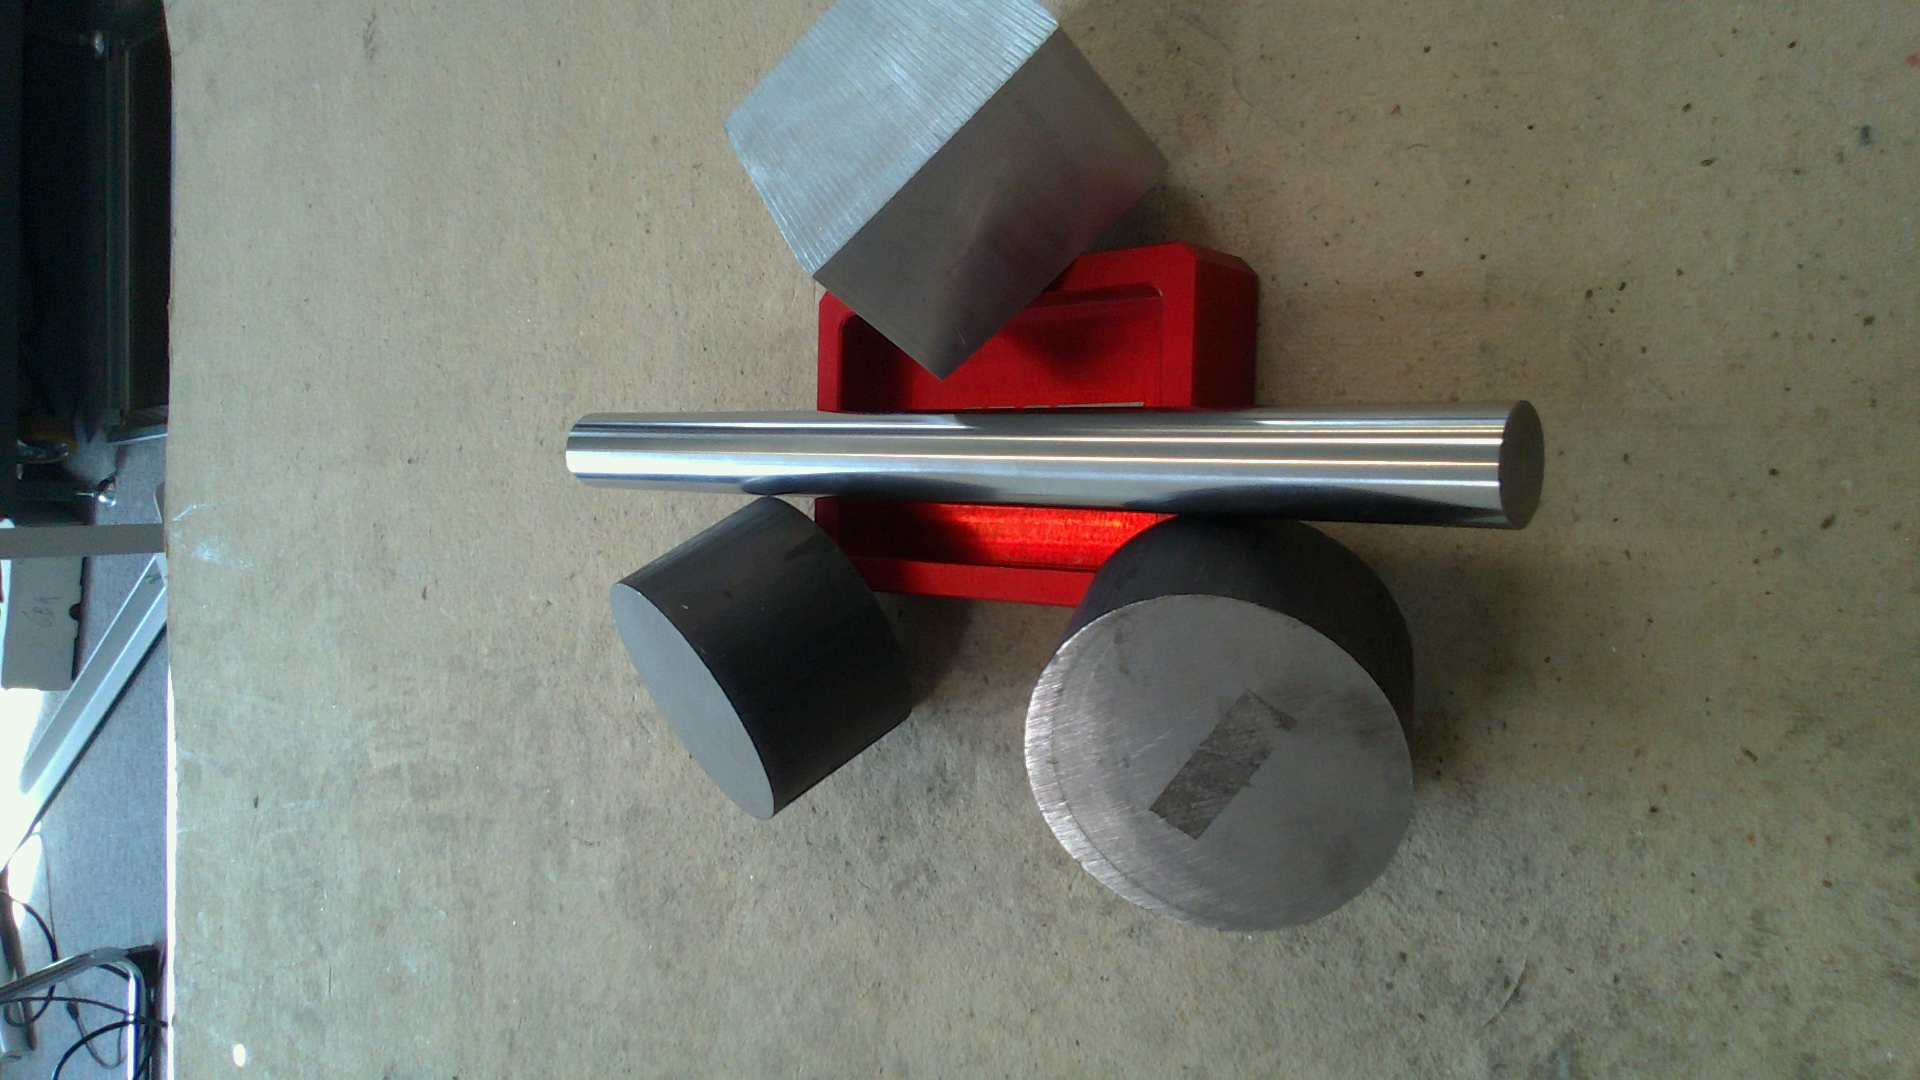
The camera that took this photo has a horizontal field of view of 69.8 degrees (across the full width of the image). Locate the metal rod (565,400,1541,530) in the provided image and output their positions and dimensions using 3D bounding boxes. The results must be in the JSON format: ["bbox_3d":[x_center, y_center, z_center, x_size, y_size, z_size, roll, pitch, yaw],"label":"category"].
[{"bbox_3d":[-0.006,-0.022,0.361,0.299,0.025,0.025,4,93,40],"label":"metal rod"}]

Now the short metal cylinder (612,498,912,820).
[{"bbox_3d":[-0.059,0.034,0.404,0.080,0.050,0.080,41,150,30],"label":"short metal cylinder"}]

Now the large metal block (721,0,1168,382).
[{"bbox_3d":[-0.007,-0.103,0.356,0.080,0.050,0.080,-42,47,14],"label":"large metal block"}]

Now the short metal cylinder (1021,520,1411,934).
[{"bbox_3d":[0.059,0.039,0.308,0.080,0.050,0.080,7,113,17],"label":"short metal cylinder"}]

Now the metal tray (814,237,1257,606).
[{"bbox_3d":[0.015,-0.030,0.379,0.129,0.030,0.090,2,92,40],"label":"metal tray"}]
